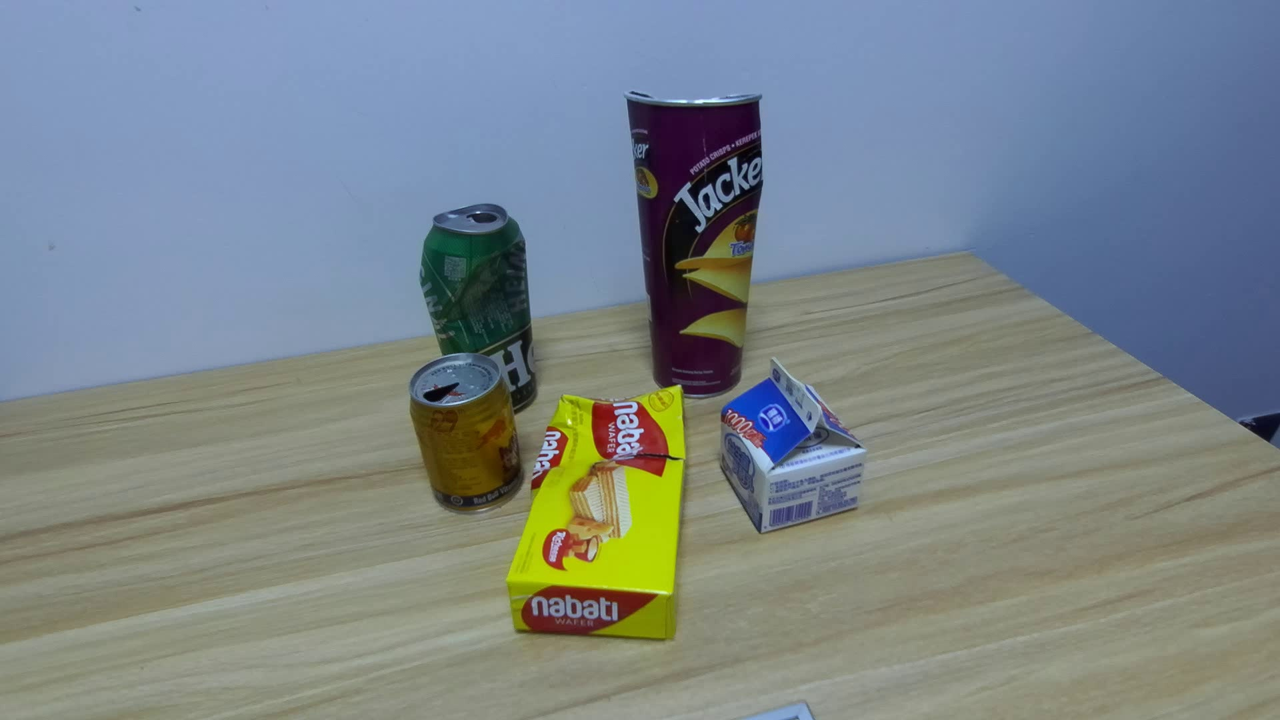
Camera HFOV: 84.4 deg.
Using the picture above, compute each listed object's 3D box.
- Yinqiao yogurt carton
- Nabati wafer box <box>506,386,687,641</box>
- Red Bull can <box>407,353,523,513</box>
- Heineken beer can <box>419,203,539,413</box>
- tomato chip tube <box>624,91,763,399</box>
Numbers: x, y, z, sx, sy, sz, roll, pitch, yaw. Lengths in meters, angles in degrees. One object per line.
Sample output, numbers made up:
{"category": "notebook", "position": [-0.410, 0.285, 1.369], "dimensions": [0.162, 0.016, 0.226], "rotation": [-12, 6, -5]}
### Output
{"category": "Yinqiao yogurt carton", "position": [0.099, 0.050, 0.464], "dimensions": [0.074, 0.092, 0.075], "rotation": [-12, 33, -13]}
{"category": "Nabati wafer box", "position": [-0.023, 0.085, 0.470], "dimensions": [0.107, 0.042, 0.204], "rotation": [1, 32, 5]}
{"category": "Red Bull can", "position": [-0.118, 0.050, 0.485], "dimensions": [0.067, 0.093, 0.067], "rotation": [-2, 32, 1]}
{"category": "Heineken beer can", "position": [-0.123, -0.034, 0.549], "dimensions": [0.078, 0.164, 0.066], "rotation": [-5, 33, -9]}
{"category": "tomato chip tube", "position": [0.044, -0.086, 0.548], "dimensions": [0.076, 0.235, 0.077], "rotation": [-20, 35, -24]}
